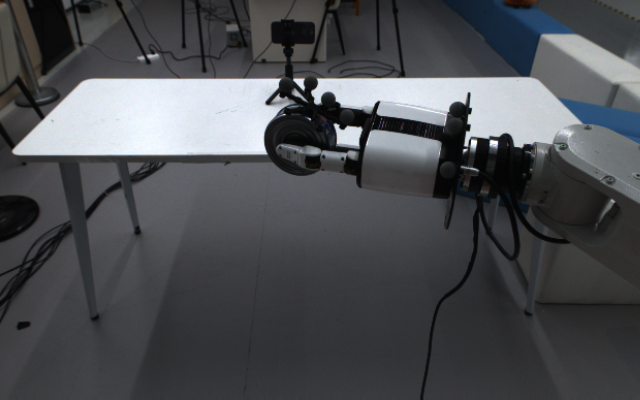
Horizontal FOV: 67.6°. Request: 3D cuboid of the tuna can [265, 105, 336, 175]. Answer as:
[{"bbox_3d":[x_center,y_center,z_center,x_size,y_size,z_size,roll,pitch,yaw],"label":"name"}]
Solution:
[{"bbox_3d":[-0.024,-0.074,0.597,0.085,0.085,0.034,12,35,14],"label":"tuna can"}]
